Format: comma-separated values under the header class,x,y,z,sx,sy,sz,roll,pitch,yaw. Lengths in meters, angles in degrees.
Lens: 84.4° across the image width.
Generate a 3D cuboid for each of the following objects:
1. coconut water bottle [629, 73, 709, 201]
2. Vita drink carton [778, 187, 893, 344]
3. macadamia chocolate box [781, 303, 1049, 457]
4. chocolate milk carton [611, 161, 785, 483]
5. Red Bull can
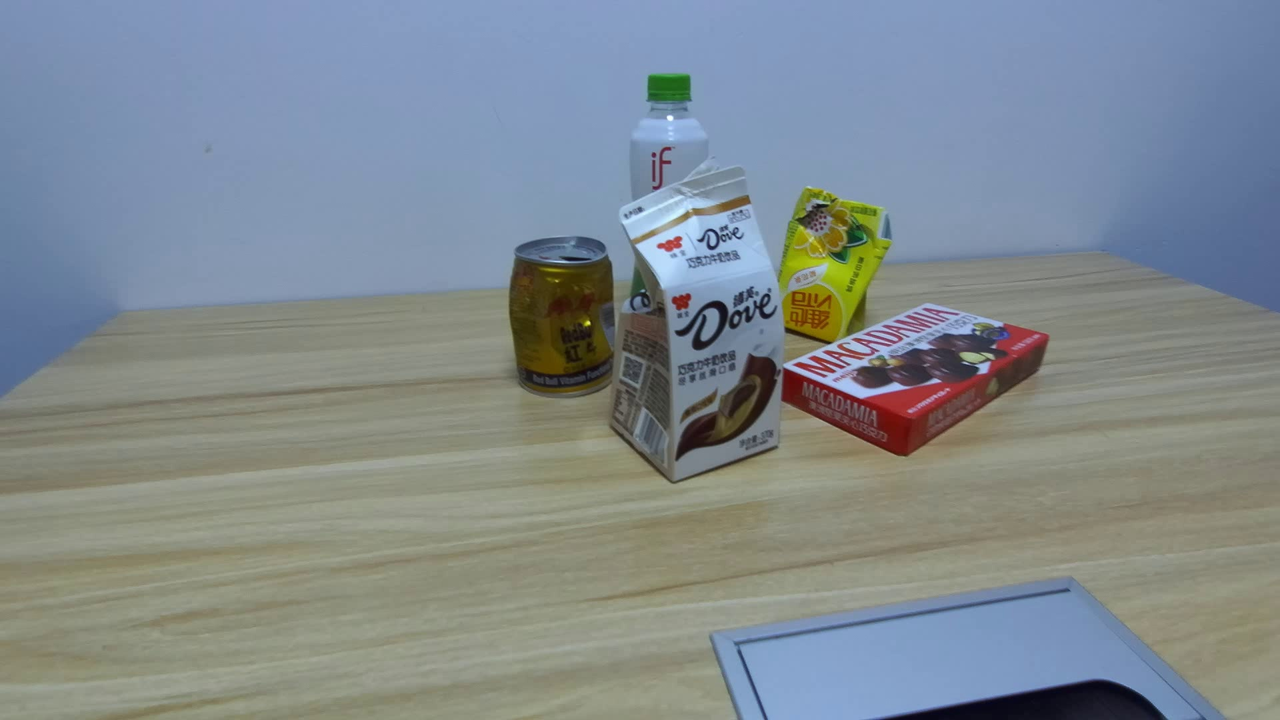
class,x,y,z,sx,sy,sz,roll,pitch,yaw
coconut water bottle,0.023,-0.116,0.540,0.063,0.189,0.063,0,24,0
Vita drink carton,0.147,-0.073,0.546,0.086,0.108,0.042,22,18,34
macadamia chocolate box,0.186,0.005,0.472,0.178,0.027,0.095,-19,31,-35
chocolate milk carton,0.030,-0.026,0.382,0.076,0.155,0.073,-13,26,-26
Red Bull can,-0.050,-0.030,0.469,0.072,0.092,0.072,1,24,0
